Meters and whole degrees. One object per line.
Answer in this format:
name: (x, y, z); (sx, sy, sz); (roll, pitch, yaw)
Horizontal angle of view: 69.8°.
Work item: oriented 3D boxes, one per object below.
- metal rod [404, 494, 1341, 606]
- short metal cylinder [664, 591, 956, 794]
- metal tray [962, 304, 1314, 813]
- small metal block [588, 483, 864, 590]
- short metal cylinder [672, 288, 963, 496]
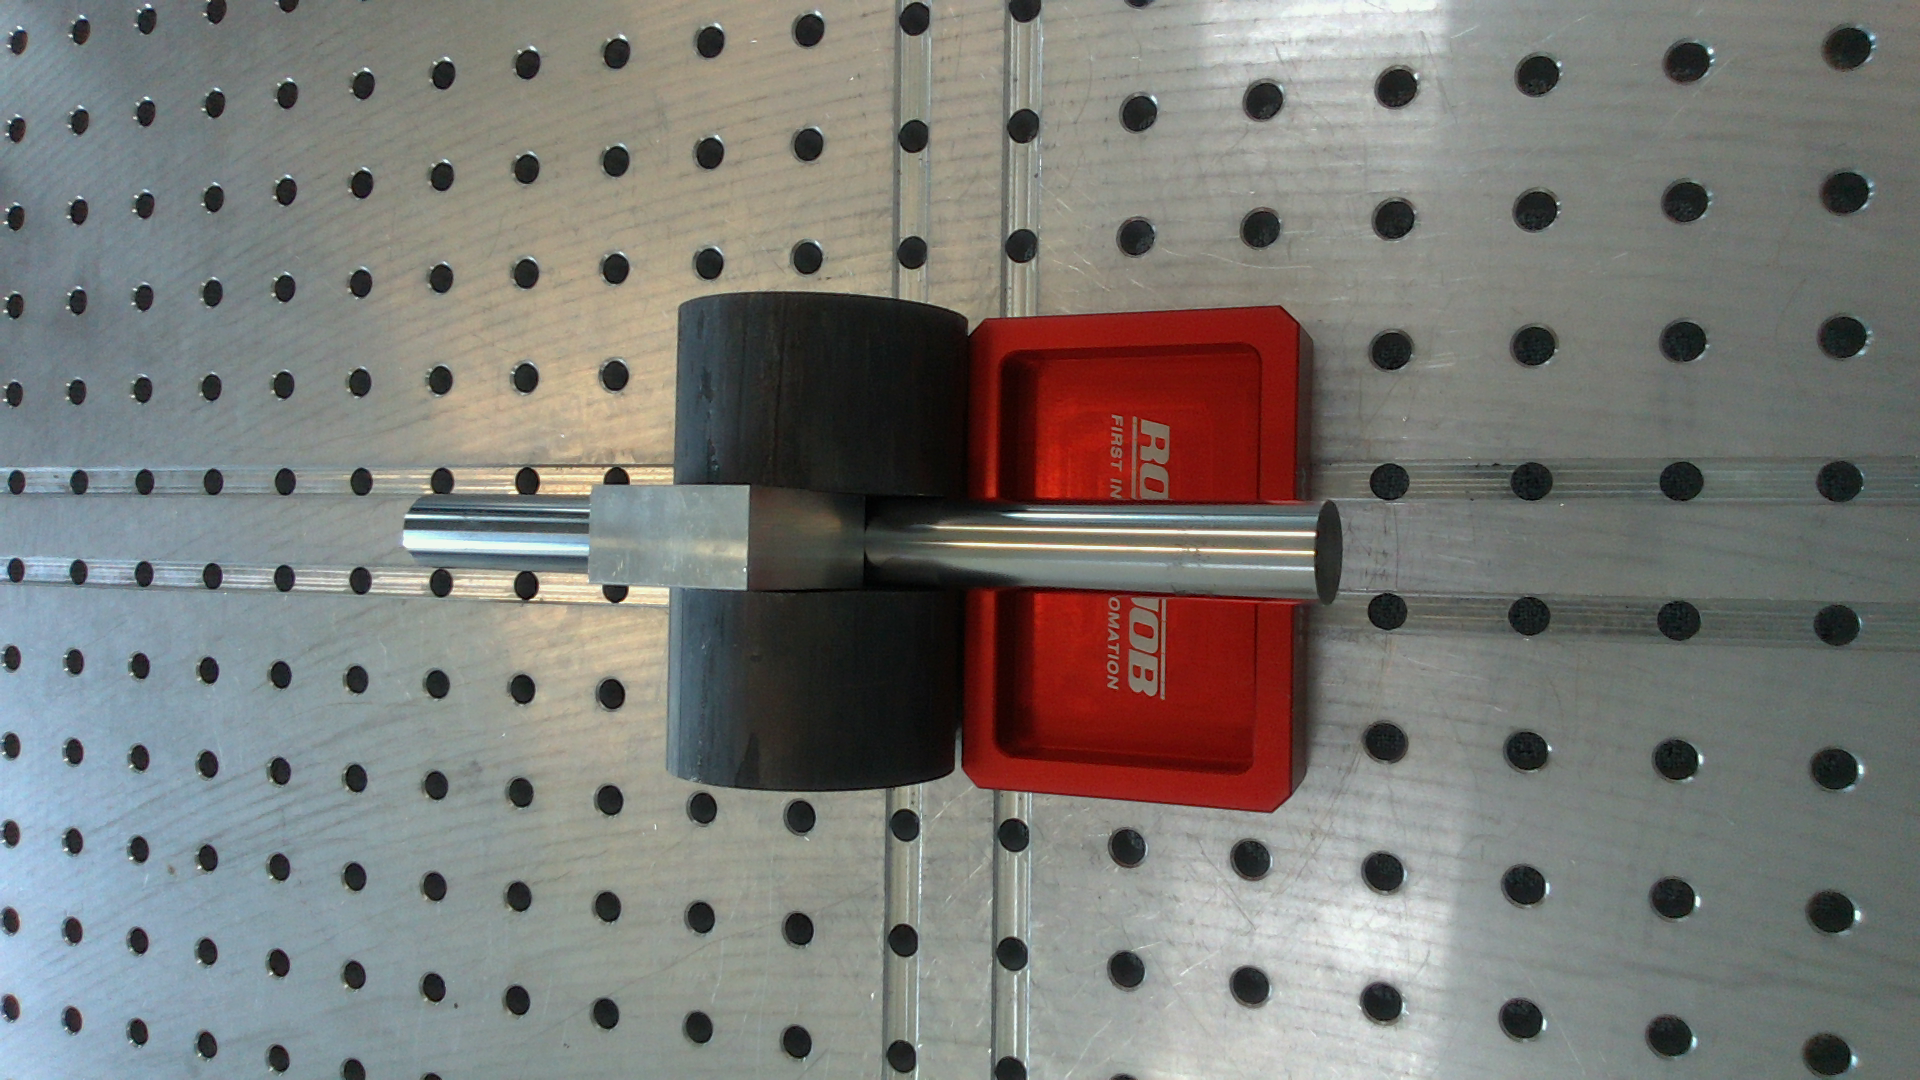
metal rod: (-0.045, 0.000, 0.390); (0.299, 0.025, 0.025); (1, 91, 29)
short metal cylinder: (-0.041, 0.038, 0.383); (0.080, 0.080, 0.050); (1, 91, 20)
metal tray: (0.049, 0.004, 0.378); (0.090, 0.030, 0.130); (1, 90, 20)
small metal block: (-0.060, -0.001, 0.356); (0.050, 0.050, 0.025); (1, 90, 28)
short metal cylinder: (-0.039, -0.038, 0.381); (0.080, 0.080, 0.050); (1, 90, 20)
